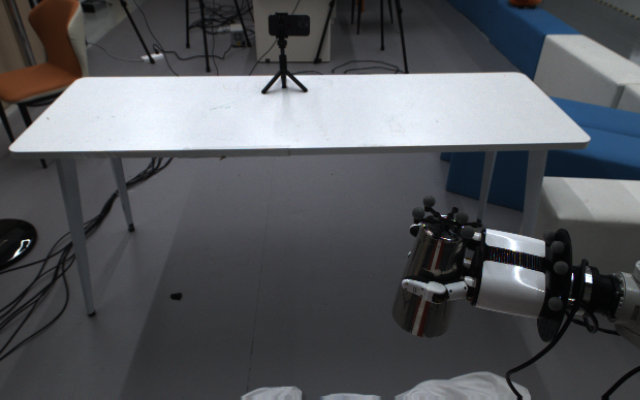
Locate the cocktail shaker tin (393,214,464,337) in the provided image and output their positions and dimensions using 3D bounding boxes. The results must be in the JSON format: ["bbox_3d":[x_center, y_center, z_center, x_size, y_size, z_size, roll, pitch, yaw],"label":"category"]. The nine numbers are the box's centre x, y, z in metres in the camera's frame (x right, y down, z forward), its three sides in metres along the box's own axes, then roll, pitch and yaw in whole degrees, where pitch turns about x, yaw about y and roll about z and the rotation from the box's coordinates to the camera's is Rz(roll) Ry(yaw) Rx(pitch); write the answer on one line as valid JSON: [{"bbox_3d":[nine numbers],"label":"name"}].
[{"bbox_3d":[0.166,0.108,0.714,0.093,0.170,0.093,4,32,-2],"label":"cocktail shaker tin"}]
